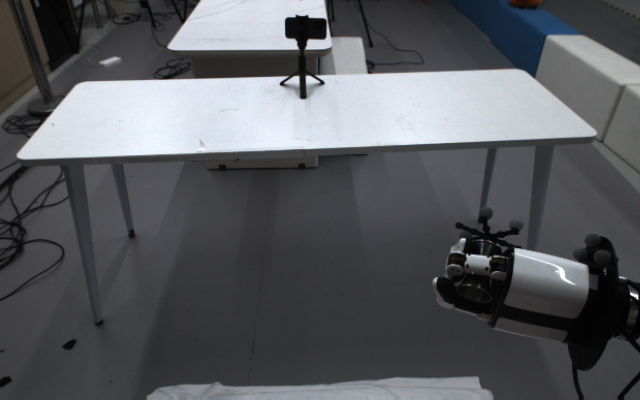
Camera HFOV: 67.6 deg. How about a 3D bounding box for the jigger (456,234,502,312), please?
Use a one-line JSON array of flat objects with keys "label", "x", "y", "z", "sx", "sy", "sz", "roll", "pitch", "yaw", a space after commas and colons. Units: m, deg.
[{"label": "jigger", "x": 0.203, "y": 0.085, "z": 0.609, "sx": 0.043, "sy": 0.043, "sz": 0.071, "roll": 15, "pitch": 58, "yaw": 18}]
